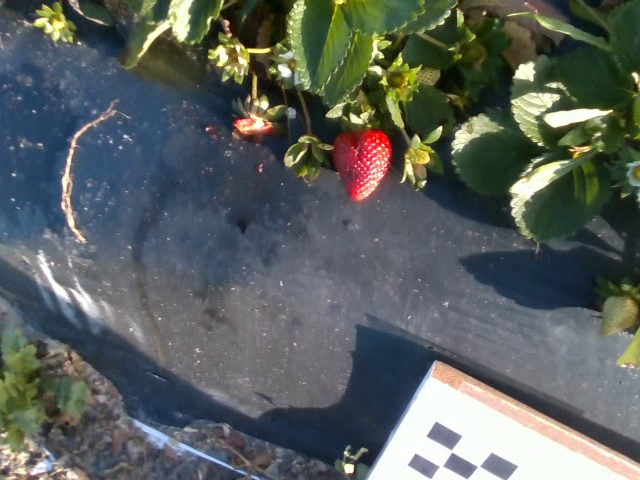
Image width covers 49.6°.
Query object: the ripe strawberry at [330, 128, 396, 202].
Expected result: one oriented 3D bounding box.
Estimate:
[{"bbox_3d":[0.027,-0.050,0.488,0.052,0.052,0.041,1,-25,27],"label":"ripe strawberry"}]
